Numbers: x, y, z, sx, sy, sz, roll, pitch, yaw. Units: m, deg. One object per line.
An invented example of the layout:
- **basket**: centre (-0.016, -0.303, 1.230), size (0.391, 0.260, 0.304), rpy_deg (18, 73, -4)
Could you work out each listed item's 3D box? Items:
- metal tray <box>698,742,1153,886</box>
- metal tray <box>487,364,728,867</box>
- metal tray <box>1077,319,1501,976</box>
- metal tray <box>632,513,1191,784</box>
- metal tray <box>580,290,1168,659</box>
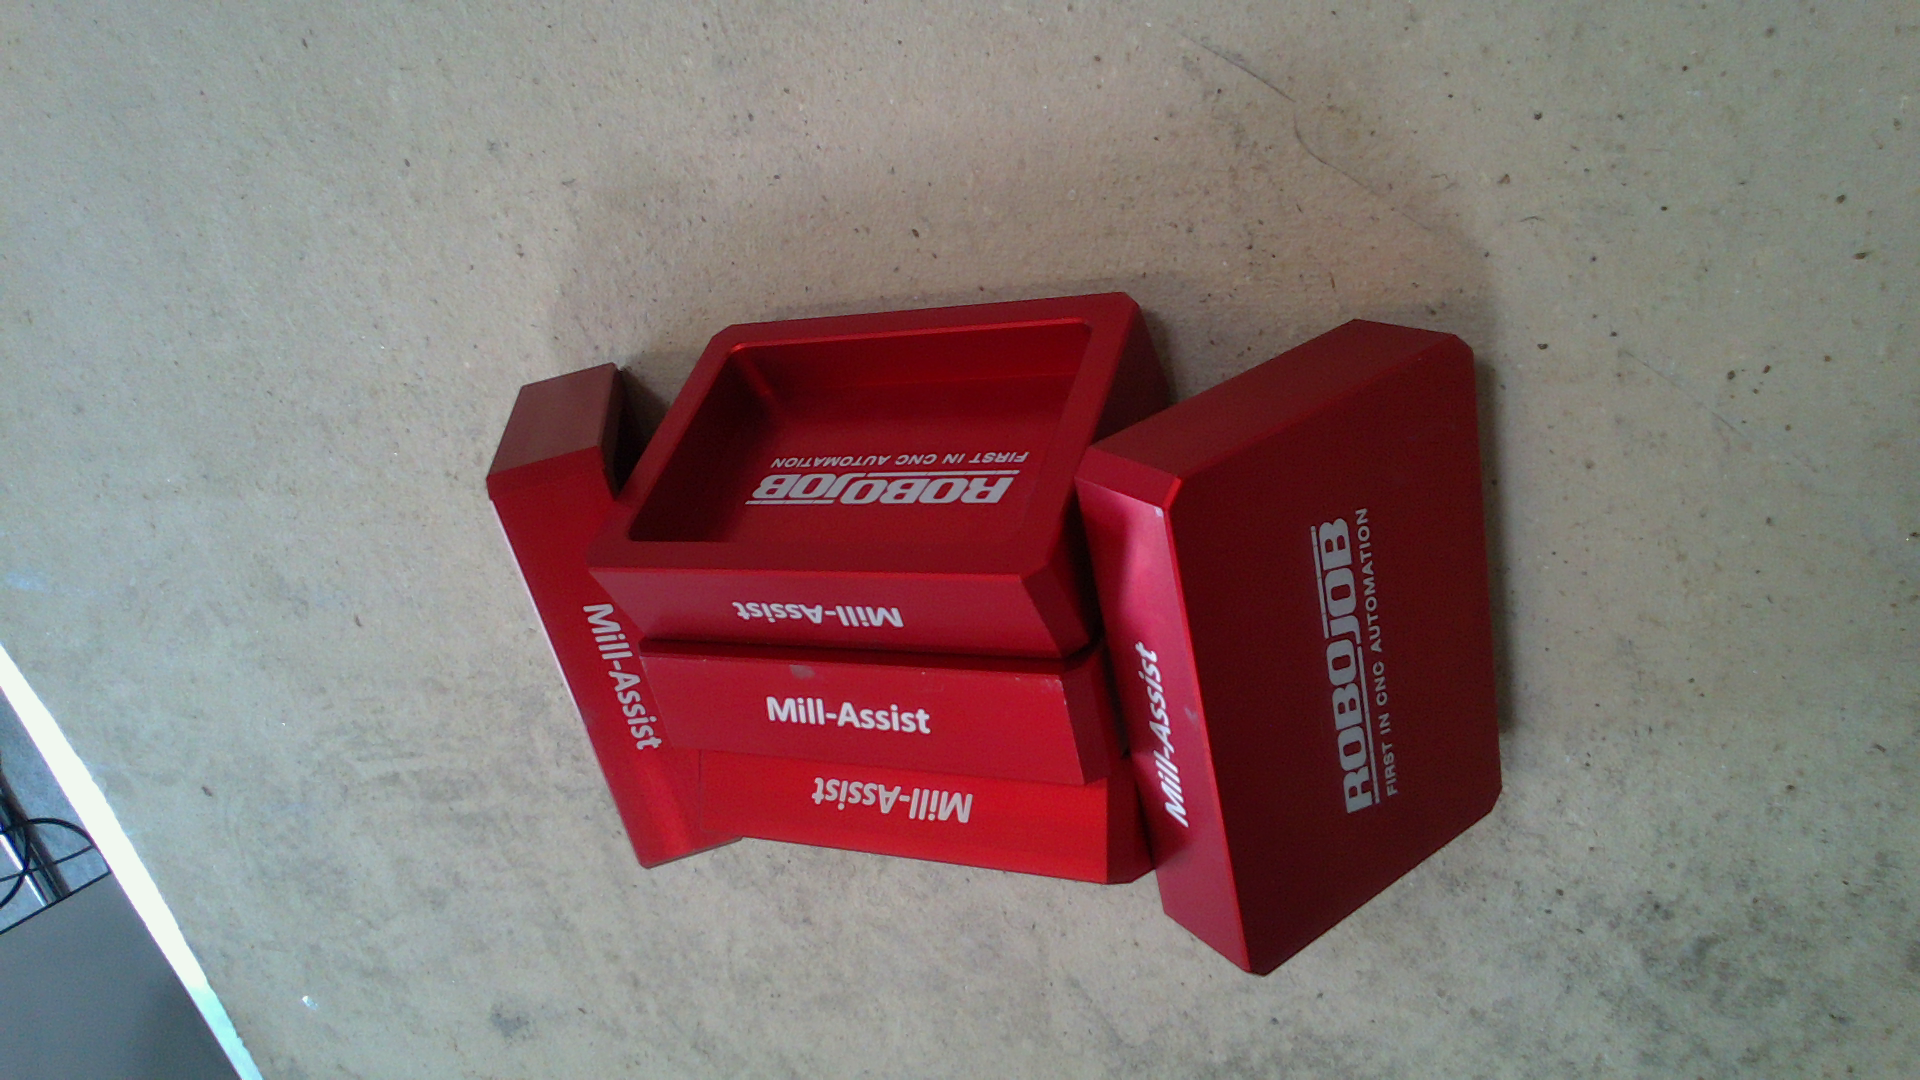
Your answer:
- **metal tray**: centre (0.003, 0.066, 0.389), size (0.130, 0.090, 0.030), rpy_deg (1, 90, 28)
- **metal tray**: centre (-0.100, 0.021, 0.419), size (0.030, 0.090, 0.130), rpy_deg (-16, 115, -4)
- **metal tray**: centre (0.082, 0.025, 0.321), size (0.030, 0.090, 0.130), rpy_deg (26, 136, 54)
- **metal tray**: centre (-0.009, 0.021, 0.369), size (0.130, 0.090, 0.030), rpy_deg (0, 119, 28)
- **metal tray**: centre (-0.022, -0.018, 0.349), size (0.130, 0.090, 0.030), rpy_deg (0, 141, 28)
